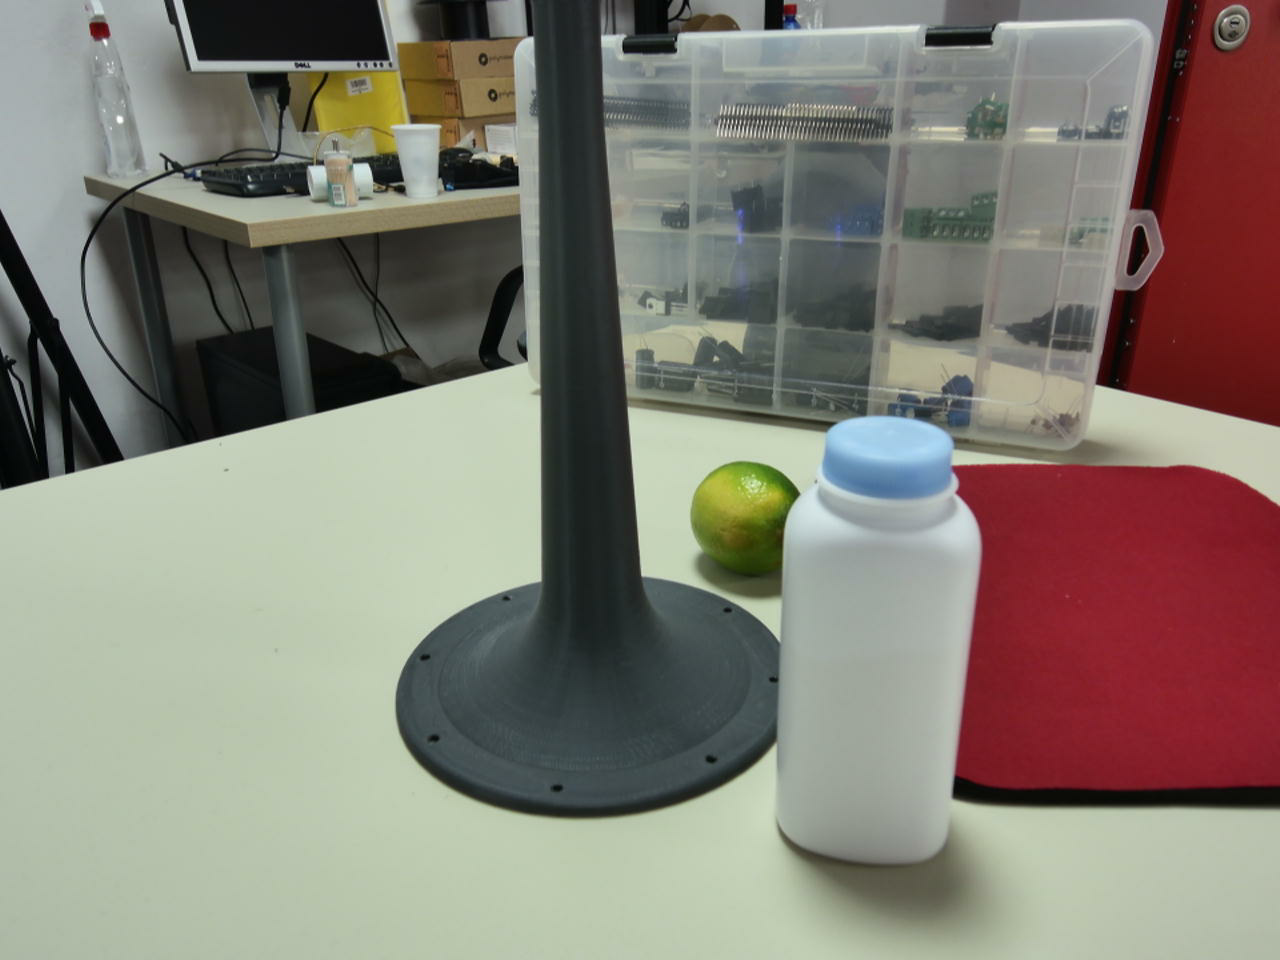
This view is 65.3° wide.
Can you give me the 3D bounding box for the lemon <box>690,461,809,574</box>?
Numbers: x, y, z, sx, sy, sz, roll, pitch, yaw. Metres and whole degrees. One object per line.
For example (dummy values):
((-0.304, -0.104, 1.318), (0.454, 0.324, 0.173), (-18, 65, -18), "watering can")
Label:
((0.050, 0.017, 0.463), (0.054, 0.050, 0.055), (4, 22, 10), "lemon")
